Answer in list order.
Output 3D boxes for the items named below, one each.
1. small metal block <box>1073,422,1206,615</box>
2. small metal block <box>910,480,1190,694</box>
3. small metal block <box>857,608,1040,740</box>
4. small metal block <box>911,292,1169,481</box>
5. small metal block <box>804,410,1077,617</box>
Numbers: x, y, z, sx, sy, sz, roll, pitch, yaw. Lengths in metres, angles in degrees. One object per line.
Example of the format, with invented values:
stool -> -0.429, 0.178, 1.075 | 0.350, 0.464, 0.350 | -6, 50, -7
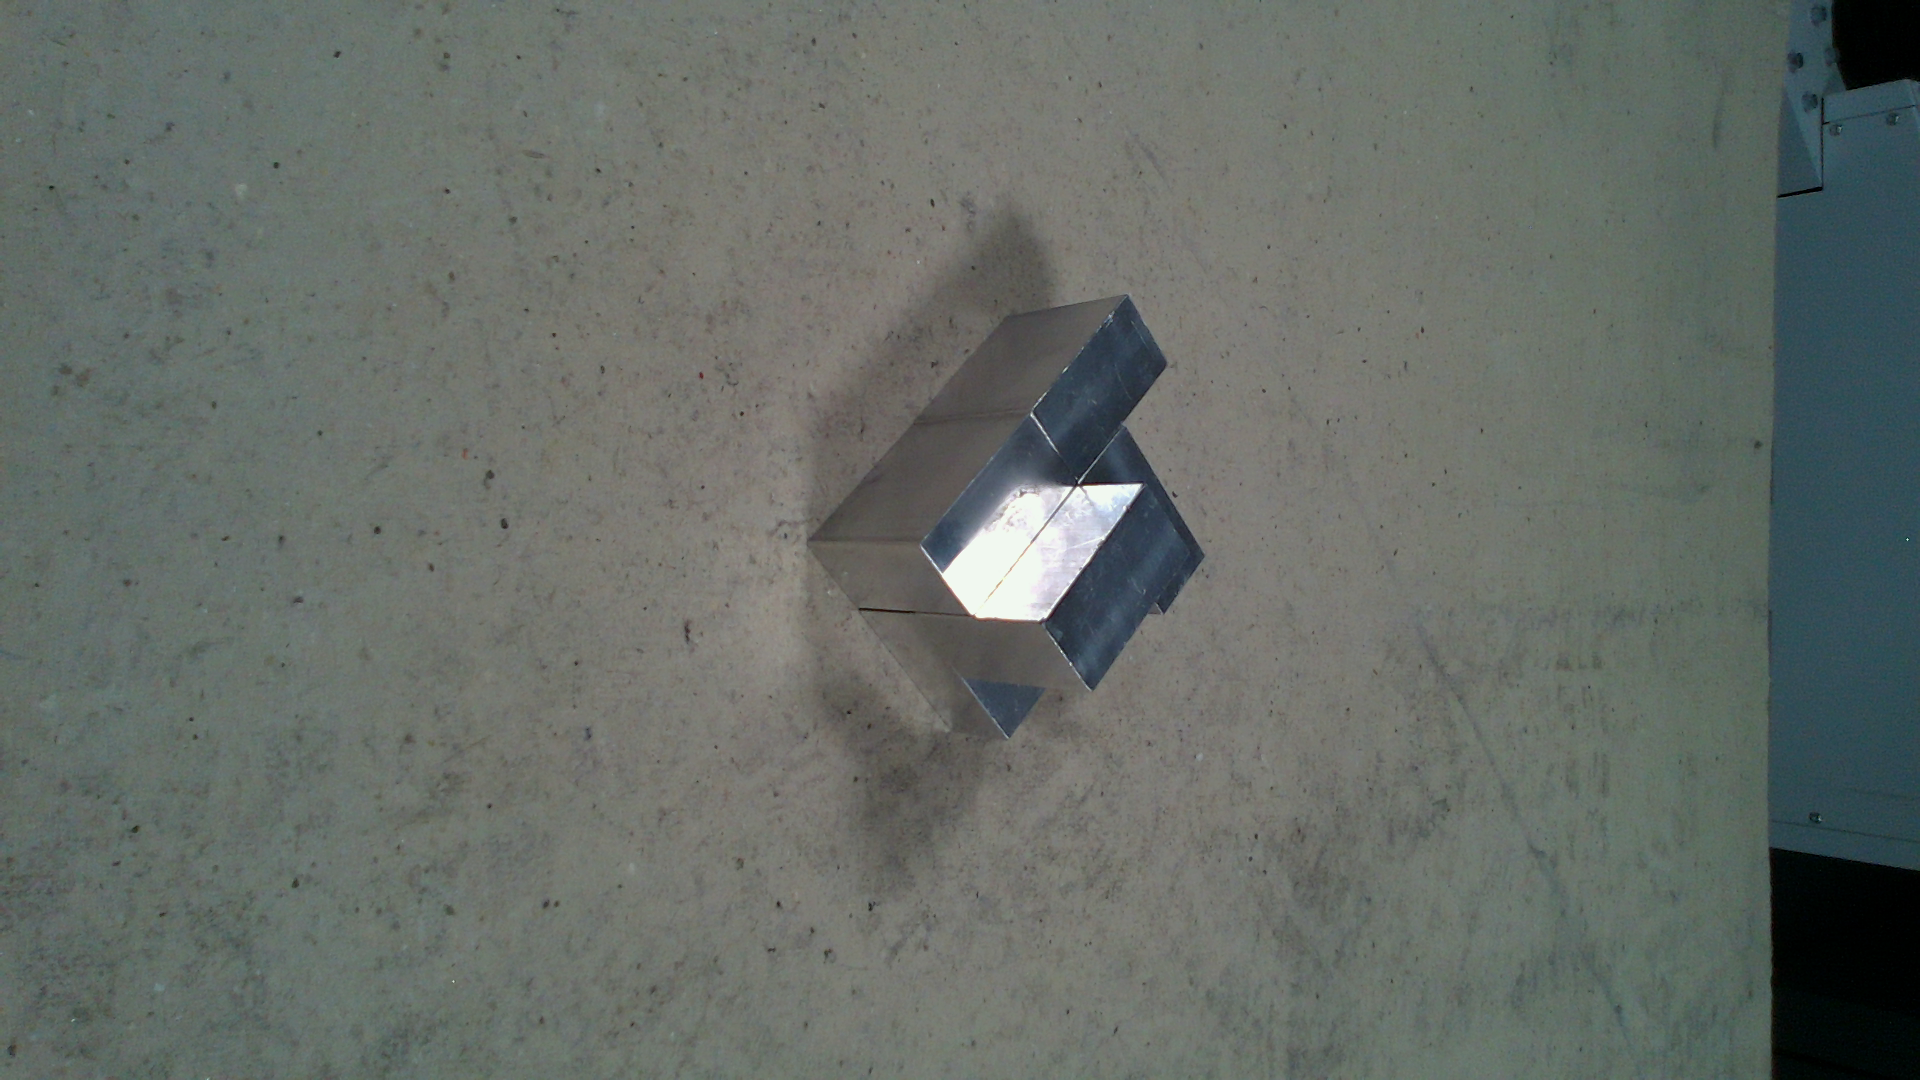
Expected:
small metal block -> 0.035, -0.006, 0.402 | 0.025, 0.050, 0.050 | -51, 120, -28
small metal block -> 0.023, 0.011, 0.360 | 0.050, 0.050, 0.025 | -51, 120, -28
small metal block -> 0.007, 0.021, 0.395 | 0.050, 0.025, 0.050 | -50, 119, -28
small metal block -> 0.023, -0.042, 0.391 | 0.050, 0.050, 0.025 | -51, 120, -28
small metal block -> -0.005, -0.007, 0.368 | 0.050, 0.050, 0.025 | -51, 120, -28
